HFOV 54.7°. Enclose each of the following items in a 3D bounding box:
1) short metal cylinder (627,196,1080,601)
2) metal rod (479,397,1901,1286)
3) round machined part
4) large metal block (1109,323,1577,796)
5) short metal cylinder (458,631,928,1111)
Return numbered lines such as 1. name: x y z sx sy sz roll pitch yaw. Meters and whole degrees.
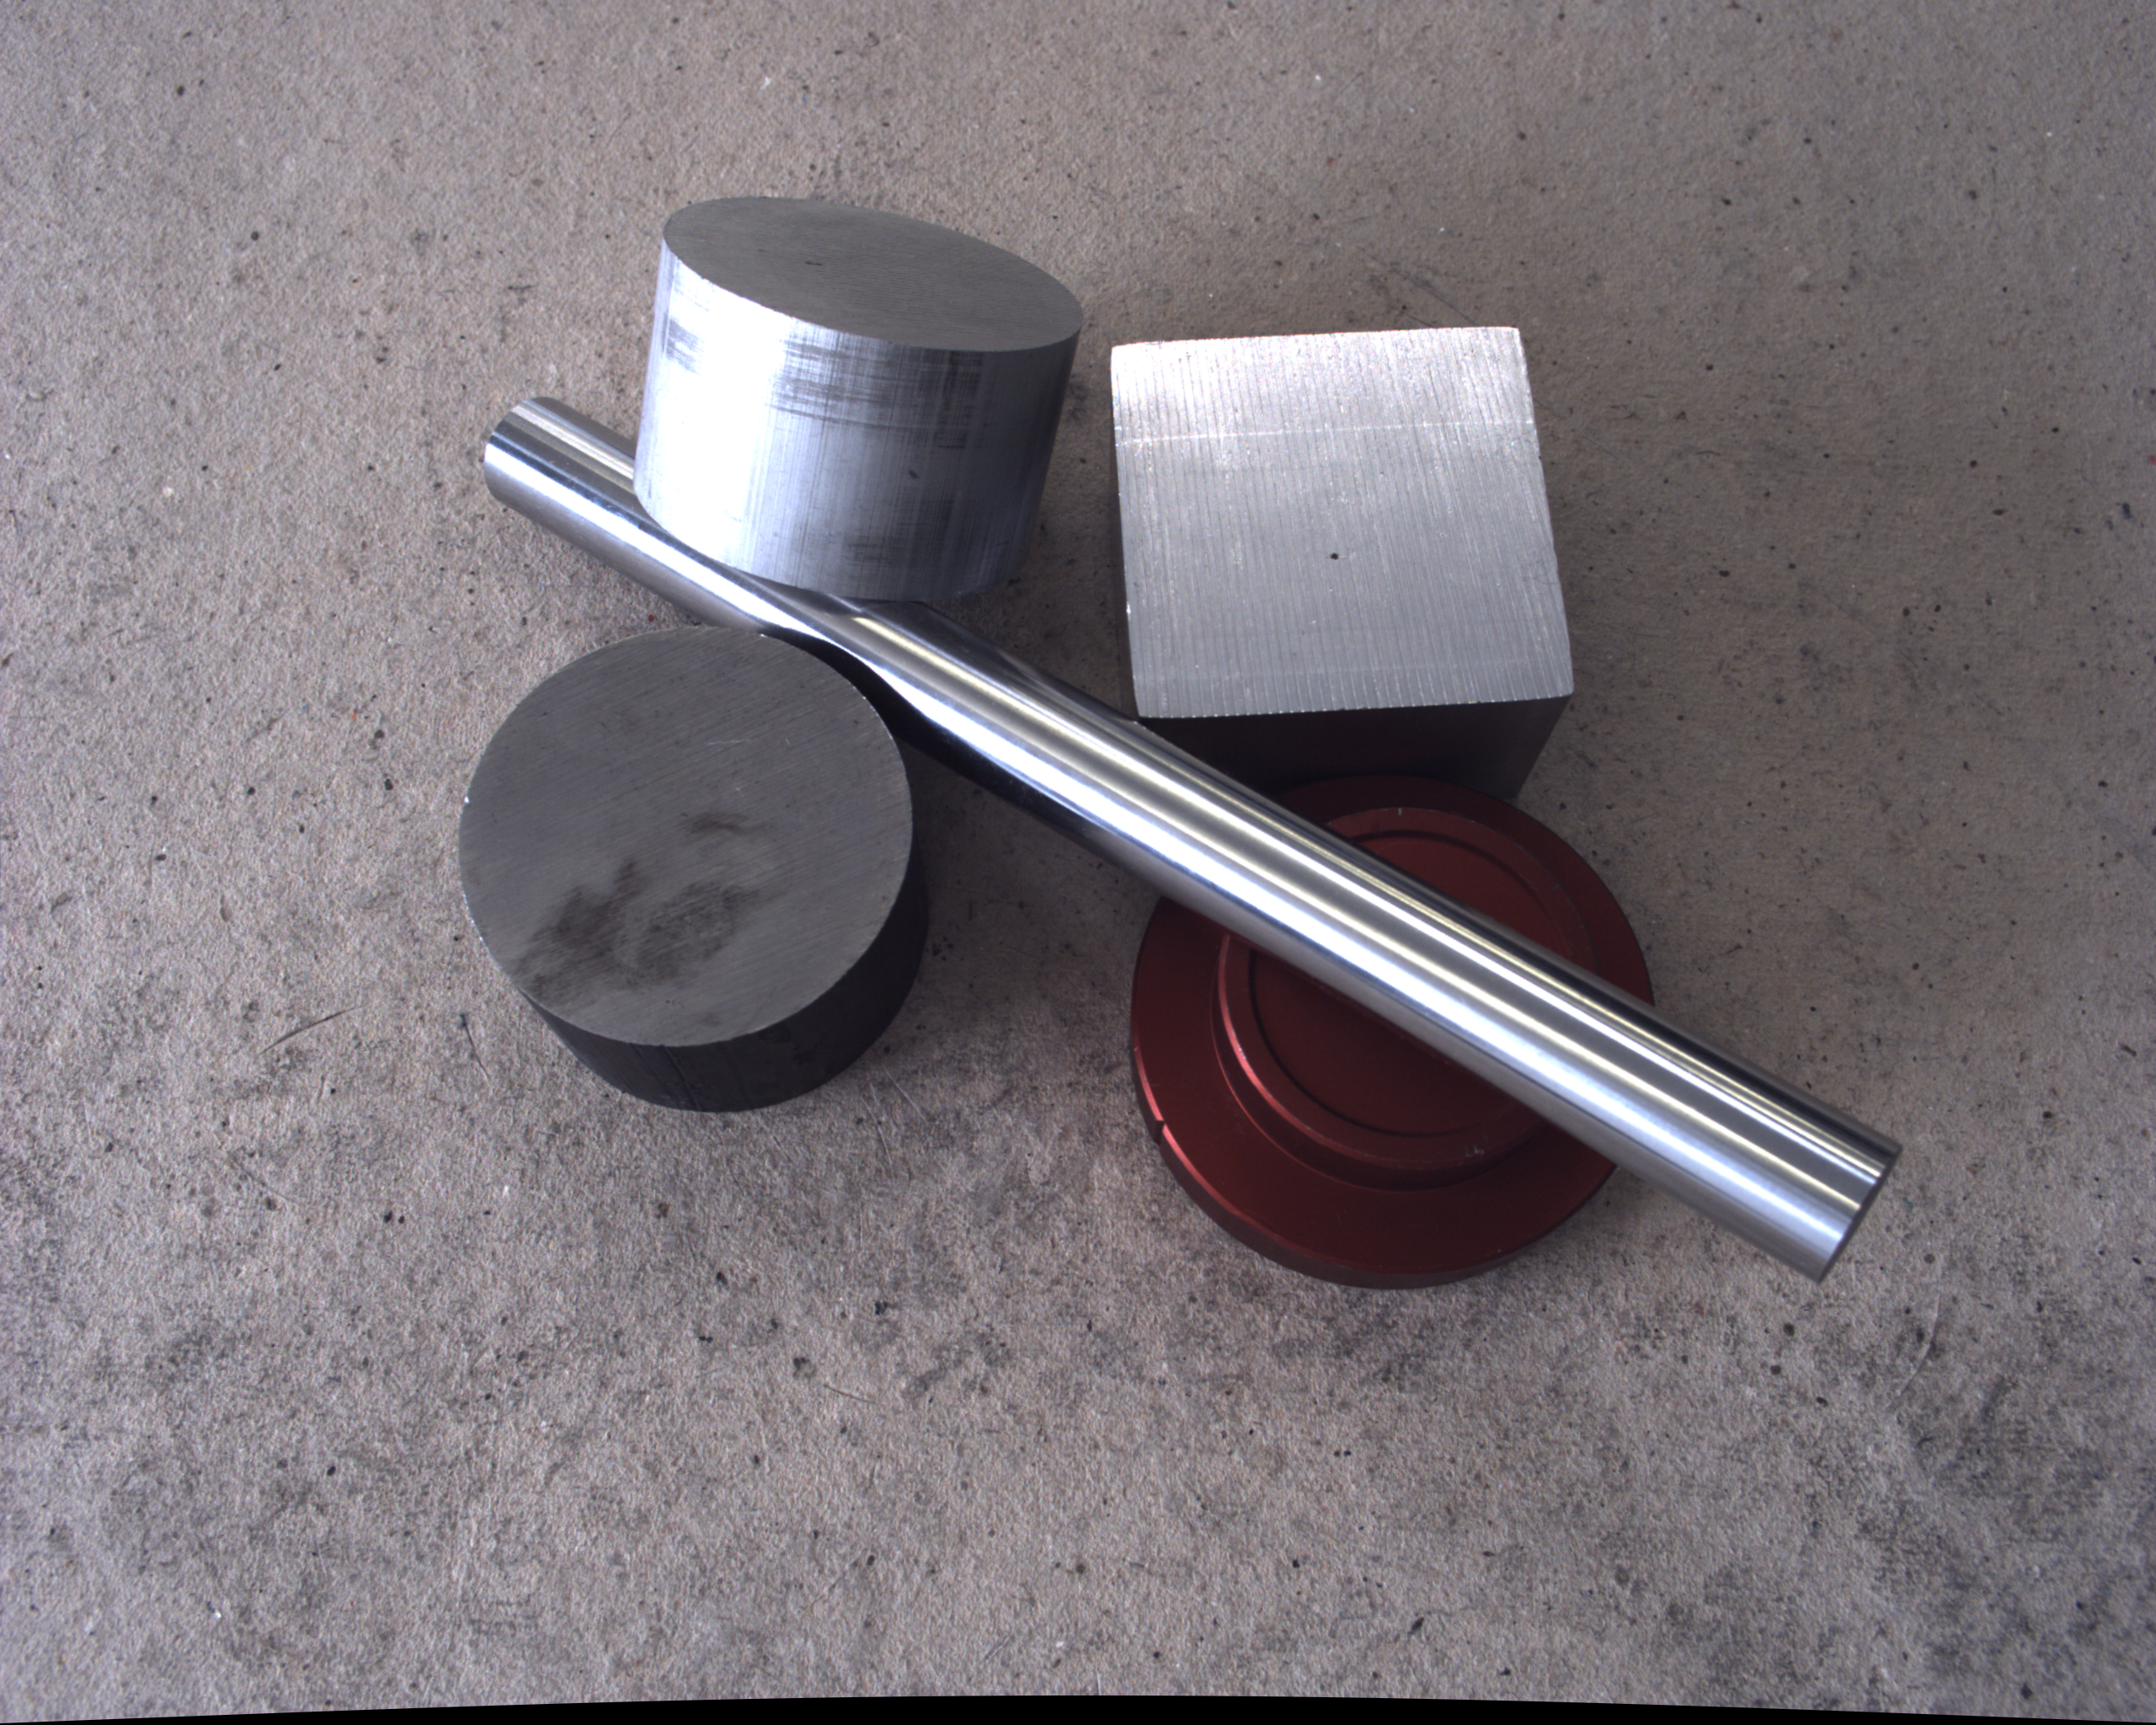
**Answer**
1. short metal cylinder: -0.044 -0.092 0.409 0.081 0.050 0.080 12 31 -7
2. metal rod: 0.001 -0.016 0.379 0.300 0.025 0.025 31 72 24
3. round machined part: 0.059 0.028 0.390 0.099 0.042 0.098 0 70 0
4. large metal block: 0.048 -0.057 0.415 0.081 0.050 0.080 -3 70 -1
5. short metal cylinder: -0.070 0.003 0.395 0.081 0.050 0.080 0 70 0
